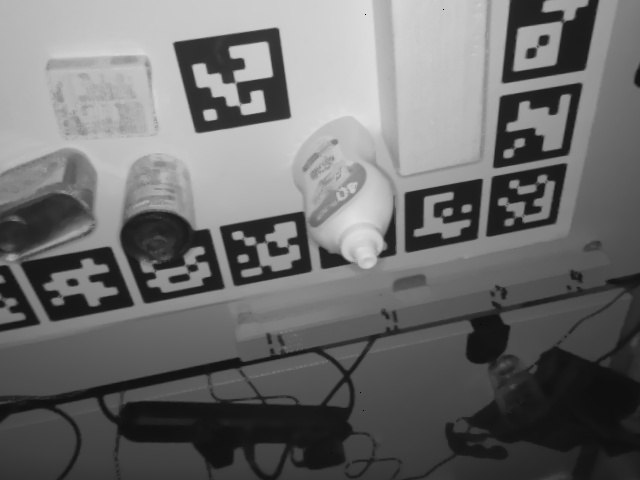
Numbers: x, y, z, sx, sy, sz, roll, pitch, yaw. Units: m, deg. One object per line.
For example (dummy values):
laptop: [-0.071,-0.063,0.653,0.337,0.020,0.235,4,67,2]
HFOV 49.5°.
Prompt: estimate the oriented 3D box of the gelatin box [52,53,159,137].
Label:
gelatin box: [-0.200,-0.137,0.653,0.090,0.030,0.072,-4,127,-13]

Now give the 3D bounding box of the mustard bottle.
mustard bottle: [0.034,-0.047,0.687,0.095,0.192,0.058,-29,129,13]

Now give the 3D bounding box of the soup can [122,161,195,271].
soup can: [-0.161,-0.027,0.697,0.068,0.102,0.067,-7,128,-8]

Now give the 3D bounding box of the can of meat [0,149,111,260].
can of meat: [-0.262,-0.038,0.688,0.101,0.084,0.057,-20,129,6]

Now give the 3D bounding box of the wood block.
wood block: [0.113,-0.174,0.666,0.091,0.090,0.204,-9,133,-4]
